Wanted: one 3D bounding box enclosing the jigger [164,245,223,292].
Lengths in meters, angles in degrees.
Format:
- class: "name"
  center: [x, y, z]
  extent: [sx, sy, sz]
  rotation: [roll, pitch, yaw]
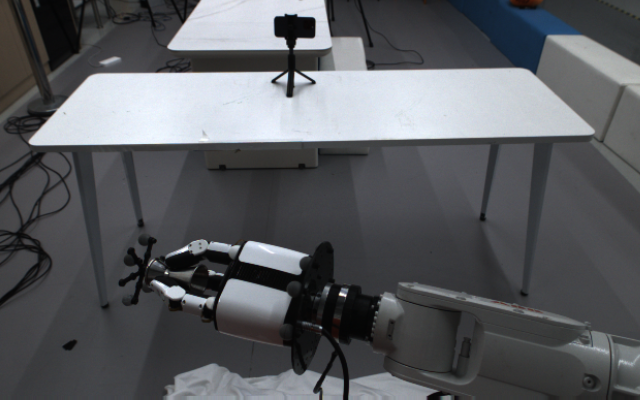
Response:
- class: "jigger"
  center: [-0.179, 0.097, 0.624]
  extent: [0.071, 0.043, 0.043]
  rotation: [7, 35, 17]
